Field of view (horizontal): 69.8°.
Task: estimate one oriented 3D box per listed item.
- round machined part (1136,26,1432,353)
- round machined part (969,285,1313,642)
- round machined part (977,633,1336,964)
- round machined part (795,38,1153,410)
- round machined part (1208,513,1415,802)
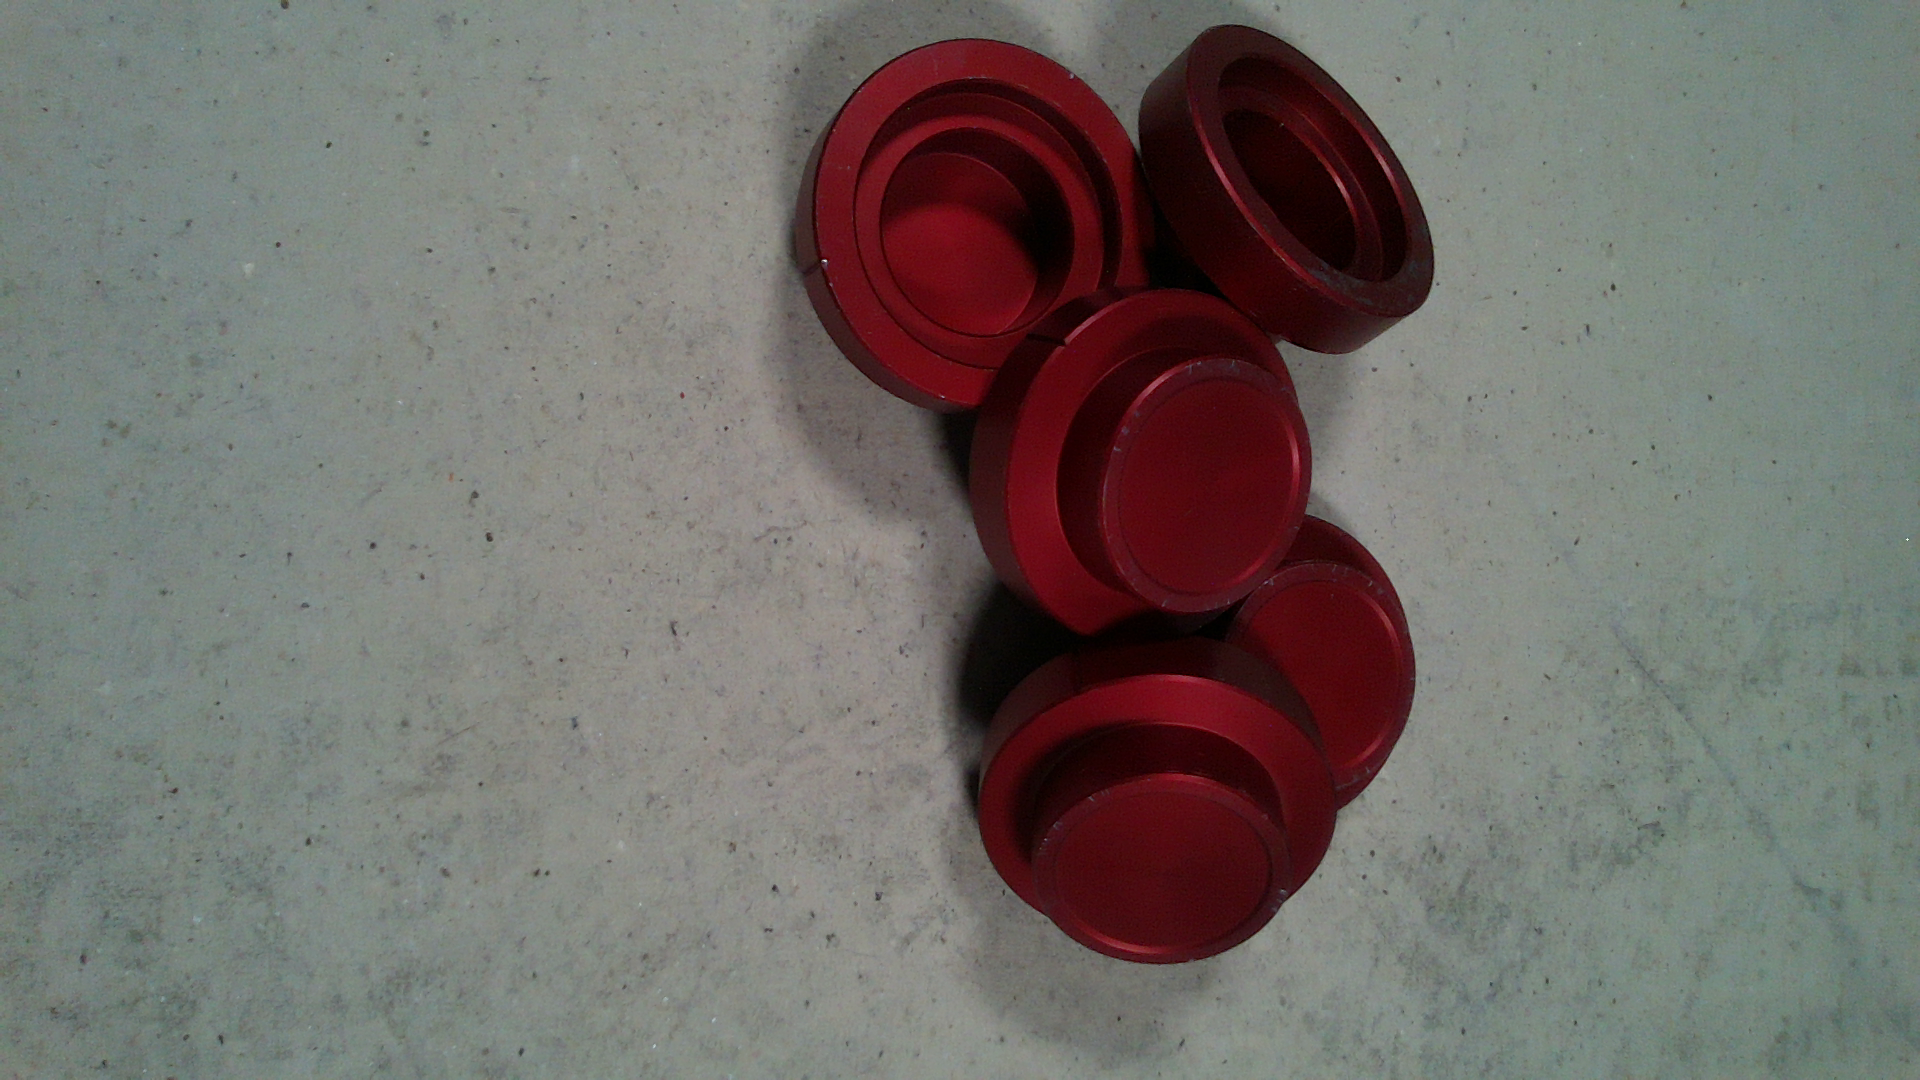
[{"bbox_3d":[0.088,-0.096,0.402,0.098,0.042,0.098,20,54,-29],"label":"round machined part"},{"bbox_3d":[0.055,-0.019,0.369,0.098,0.042,0.098,-6,103,-27],"label":"round machined part"},{"bbox_3d":[0.054,0.077,0.377,0.098,0.042,0.098,1,122,2],"label":"round machined part"},{"bbox_3d":[0.001,-0.084,0.385,0.098,0.042,0.098,0,90,-20],"label":"round machined part"},{"bbox_3d":[0.098,0.040,0.420,0.098,0.042,0.098,0,90,-20],"label":"round machined part"}]
